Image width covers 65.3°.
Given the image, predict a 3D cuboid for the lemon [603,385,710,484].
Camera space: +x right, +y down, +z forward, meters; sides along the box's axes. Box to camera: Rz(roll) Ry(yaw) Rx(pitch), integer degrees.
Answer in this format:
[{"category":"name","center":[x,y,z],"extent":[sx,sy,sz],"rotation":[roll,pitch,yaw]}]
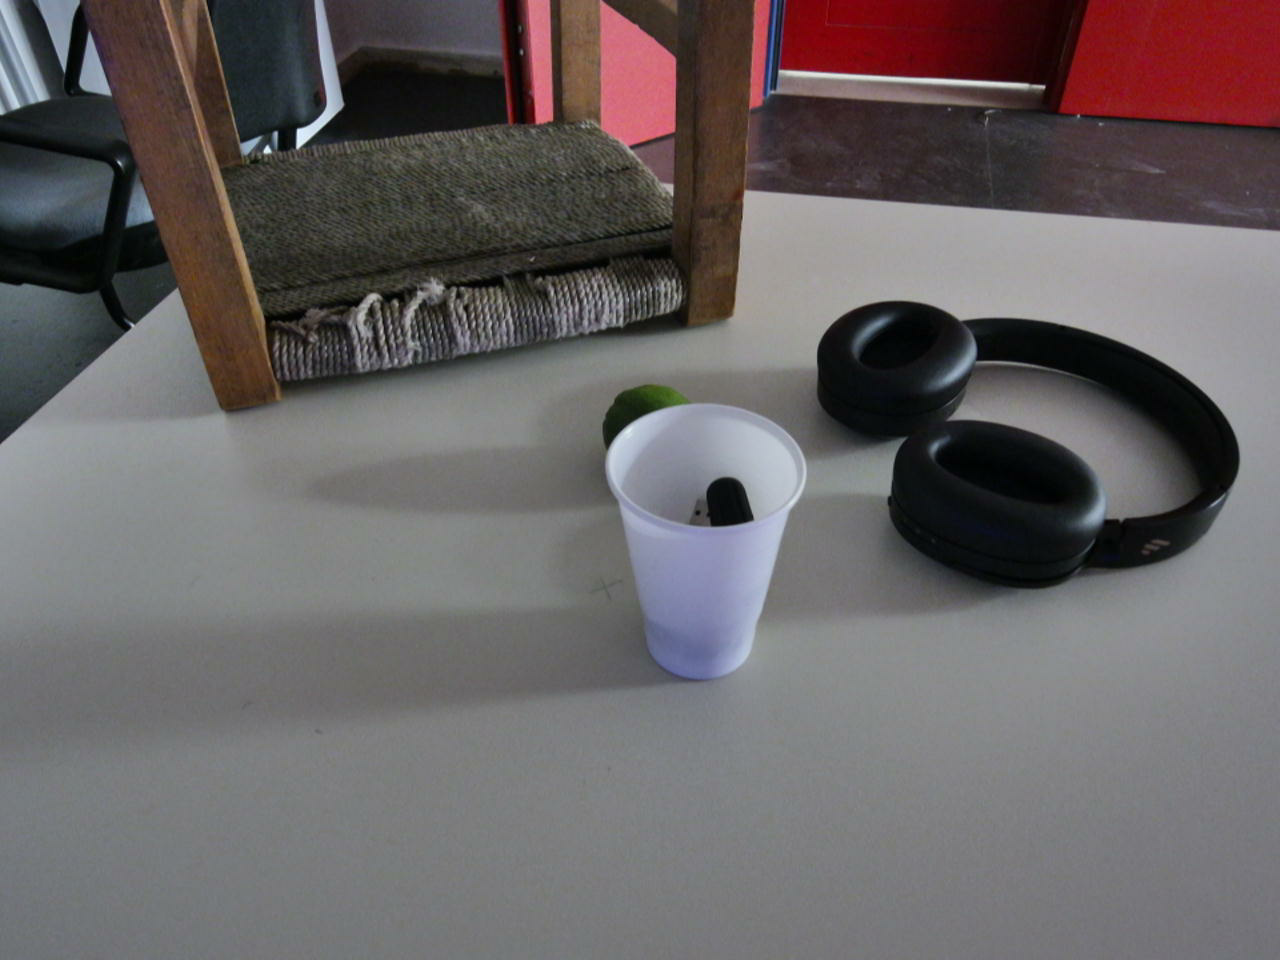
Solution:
[{"category":"lemon","center":[0.009,-0.025,0.535],"extent":[0.057,0.051,0.054],"rotation":[5,39,7]}]
